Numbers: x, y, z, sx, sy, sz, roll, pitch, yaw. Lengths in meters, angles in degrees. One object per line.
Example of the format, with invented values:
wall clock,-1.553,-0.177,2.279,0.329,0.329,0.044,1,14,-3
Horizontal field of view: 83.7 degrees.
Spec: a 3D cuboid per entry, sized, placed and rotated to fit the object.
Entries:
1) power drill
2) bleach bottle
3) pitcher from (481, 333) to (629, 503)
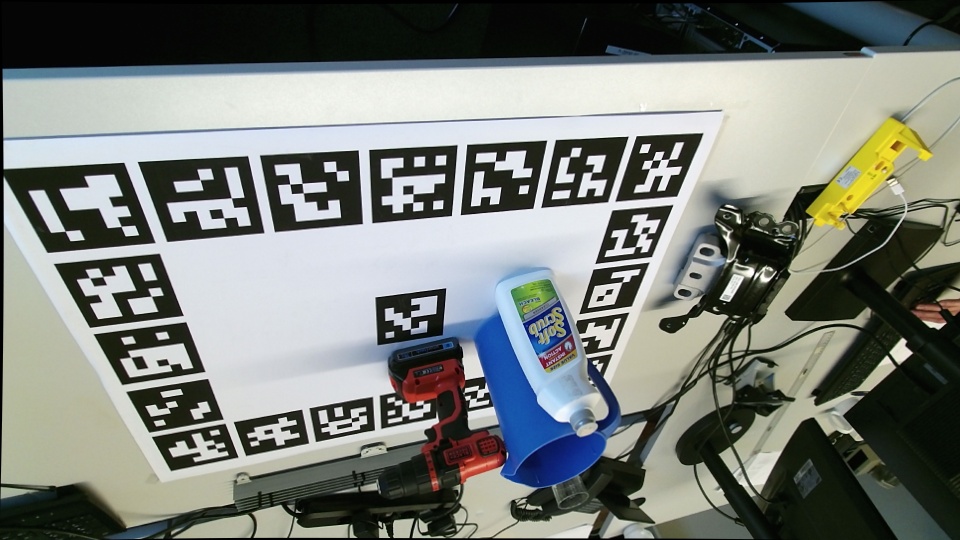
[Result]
power drill,-0.068,0.231,0.775,0.185,0.186,0.057,-8,128,-9
bleach bottle,0.122,0.134,0.730,0.103,0.249,0.068,-14,132,-12
pitcher,0.097,0.202,0.805,0.189,0.241,0.133,-28,132,1
